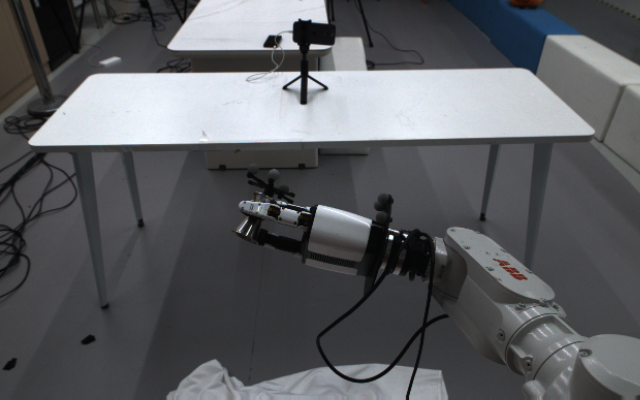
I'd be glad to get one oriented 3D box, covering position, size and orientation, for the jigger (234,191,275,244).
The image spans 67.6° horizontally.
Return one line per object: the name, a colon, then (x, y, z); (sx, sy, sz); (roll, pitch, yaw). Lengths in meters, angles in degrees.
jigger: (-0.097, 0.024, 0.719); (0.043, 0.043, 0.071); (20, 73, 24)
